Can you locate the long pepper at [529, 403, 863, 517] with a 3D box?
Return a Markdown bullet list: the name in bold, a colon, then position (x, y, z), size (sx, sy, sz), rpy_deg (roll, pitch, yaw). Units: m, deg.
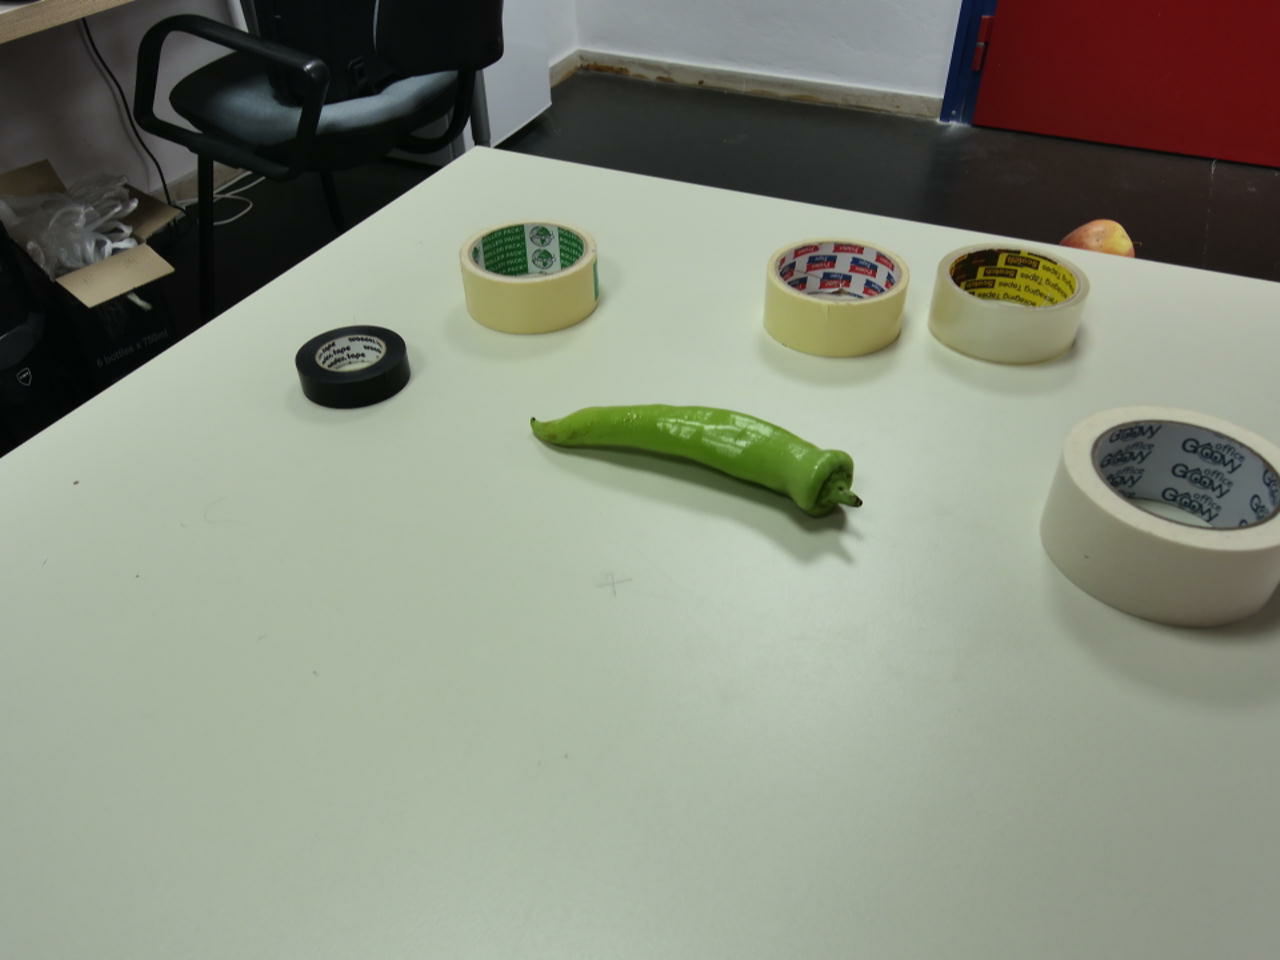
- **long pepper**: position (0.029, -0.021, 0.536), size (0.197, 0.038, 0.046), rpy_deg (18, 42, 22)
